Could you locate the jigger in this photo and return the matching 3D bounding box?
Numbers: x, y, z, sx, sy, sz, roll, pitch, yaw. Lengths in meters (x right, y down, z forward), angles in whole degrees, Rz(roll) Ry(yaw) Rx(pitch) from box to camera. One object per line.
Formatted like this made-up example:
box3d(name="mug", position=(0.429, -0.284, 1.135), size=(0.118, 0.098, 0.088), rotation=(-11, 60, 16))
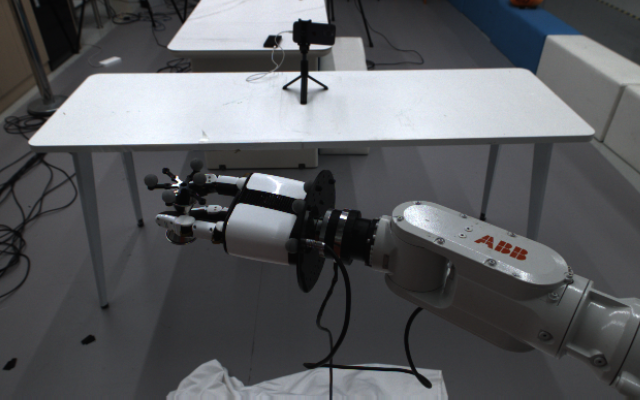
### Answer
box3d(name="jigger", position=(-0.187, 0.022, 0.661), size=(0.043, 0.071, 0.043), rotation=(9, 36, -7))
